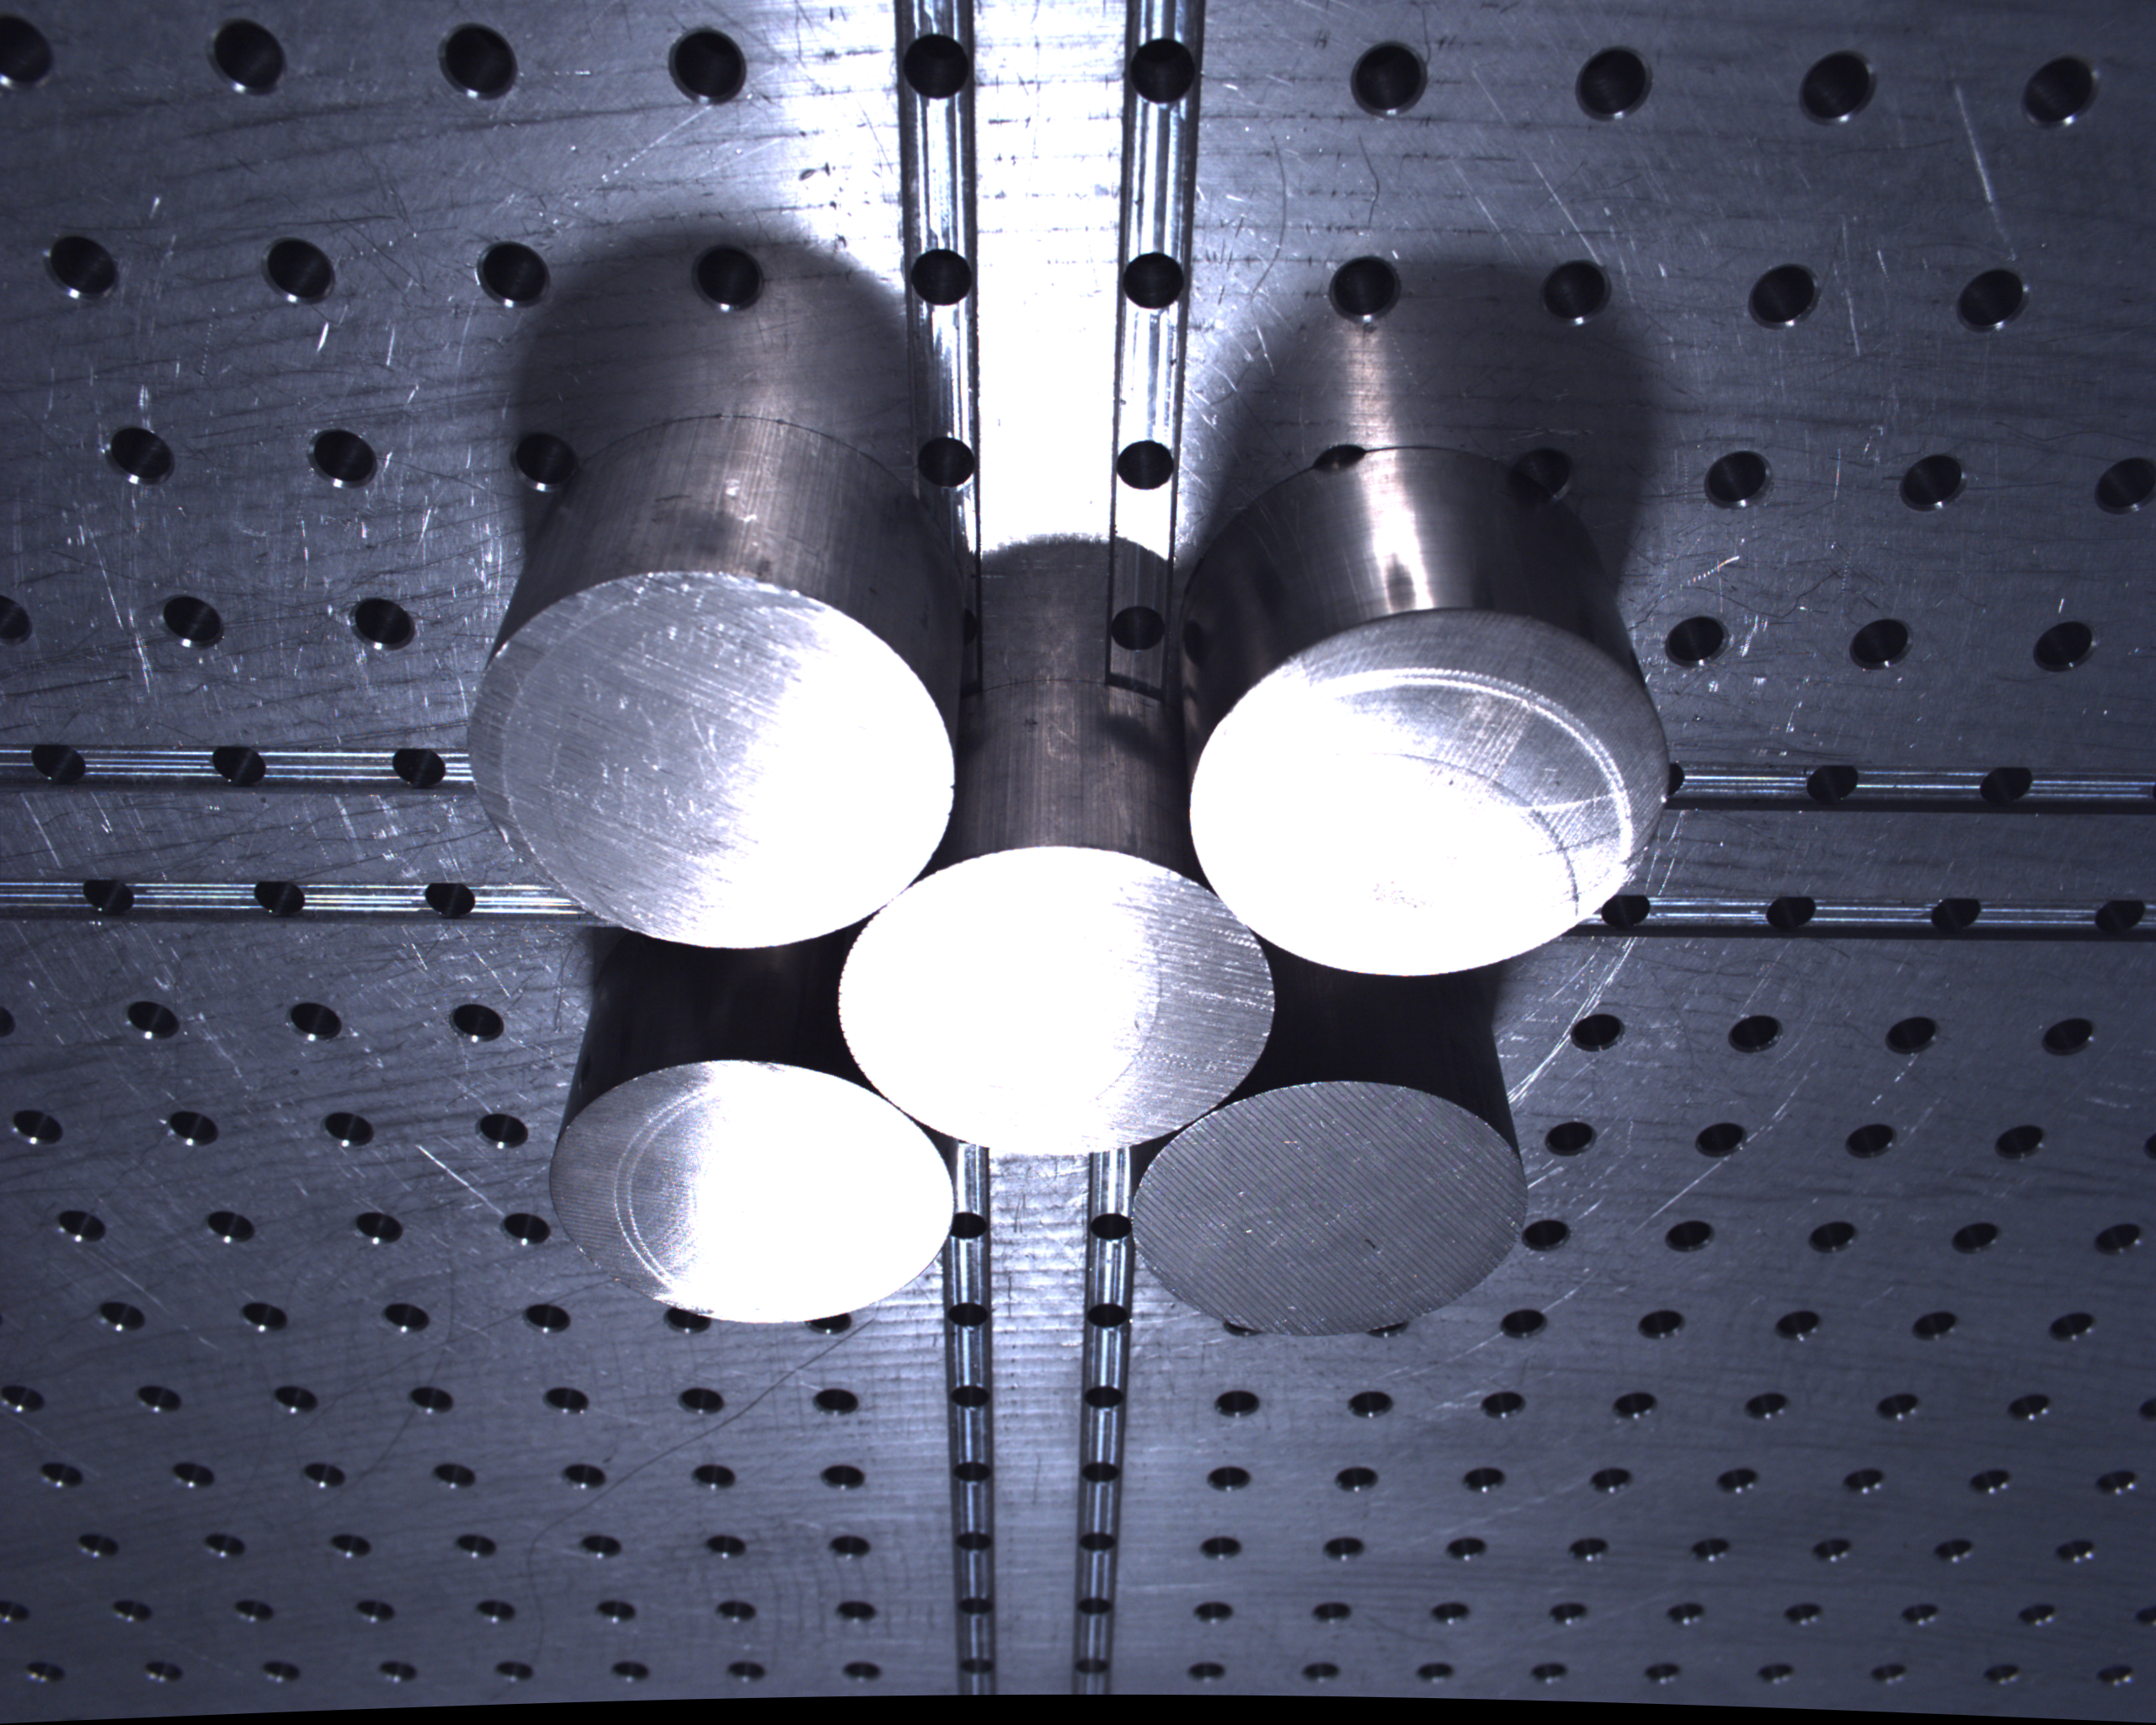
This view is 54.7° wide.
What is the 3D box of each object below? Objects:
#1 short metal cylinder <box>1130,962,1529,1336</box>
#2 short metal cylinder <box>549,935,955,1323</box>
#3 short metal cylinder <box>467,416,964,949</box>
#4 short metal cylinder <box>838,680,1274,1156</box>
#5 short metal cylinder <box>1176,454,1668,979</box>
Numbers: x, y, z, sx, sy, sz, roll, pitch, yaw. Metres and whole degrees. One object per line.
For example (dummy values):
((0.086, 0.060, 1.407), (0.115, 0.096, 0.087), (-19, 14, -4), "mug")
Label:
((0.051, 0.056, 0.443), (0.081, 0.050, 0.079), (0, 130, 0), "short metal cylinder")
((-0.065, 0.052, 0.437), (0.081, 0.050, 0.079), (0, 130, 0), "short metal cylinder")
((-0.061, -0.031, 0.367), (0.081, 0.050, 0.079), (0, 130, 0), "short metal cylinder")
((-0.004, 0.012, 0.404), (0.081, 0.050, 0.079), (0, 130, 0), "short metal cylinder")
((0.059, -0.025, 0.372), (0.081, 0.050, 0.079), (0, 130, 0), "short metal cylinder")
